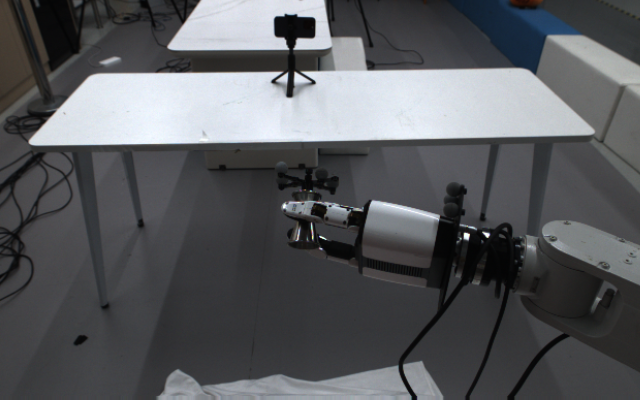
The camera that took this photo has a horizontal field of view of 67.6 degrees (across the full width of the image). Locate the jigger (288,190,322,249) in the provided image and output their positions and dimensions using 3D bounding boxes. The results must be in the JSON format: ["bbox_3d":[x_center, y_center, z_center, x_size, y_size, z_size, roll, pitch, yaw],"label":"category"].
[{"bbox_3d":[-0.020,0.025,0.620,0.043,0.043,0.071,3,72,1],"label":"jigger"}]
